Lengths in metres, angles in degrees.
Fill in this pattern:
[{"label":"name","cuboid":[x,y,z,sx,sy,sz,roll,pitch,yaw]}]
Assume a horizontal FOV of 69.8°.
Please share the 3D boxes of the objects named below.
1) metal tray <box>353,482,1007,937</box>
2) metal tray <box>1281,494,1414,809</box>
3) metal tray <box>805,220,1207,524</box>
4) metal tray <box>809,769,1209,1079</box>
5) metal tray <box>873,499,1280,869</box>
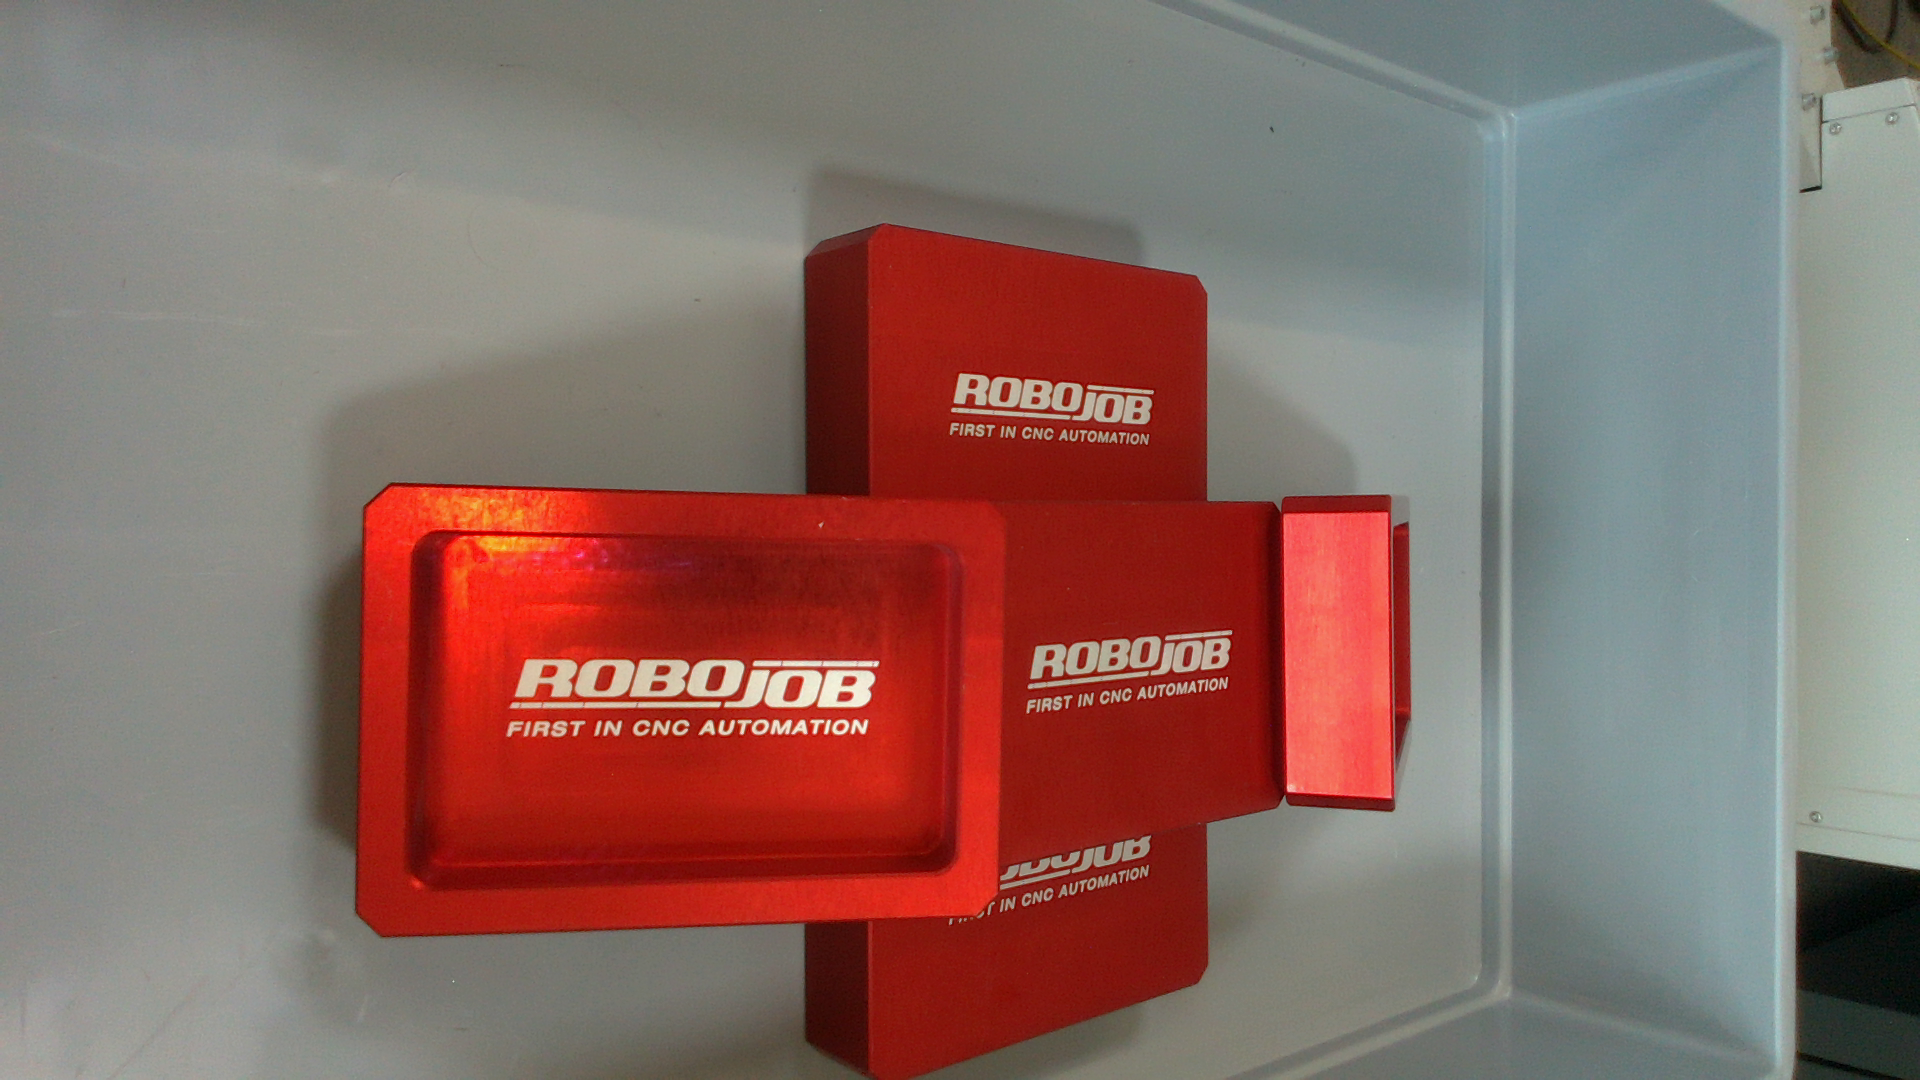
[{"label":"metal tray","cuboid":[-0.057,0.035,0.297,0.130,0.030,0.090,1,90,-11]},{"label":"metal tray","cuboid":[0.130,0.030,0.452,0.130,0.030,0.090,-5,95,-69]},{"label":"metal tray","cuboid":[0.018,-0.036,0.398,0.131,0.030,0.090,-1,90,-40]},{"label":"metal tray","cuboid":[0.019,0.093,0.398,0.131,0.030,0.090,-1,90,-40]},{"label":"metal tray","cuboid":[0.037,0.034,0.376,0.131,0.030,0.090,-2,91,-40]}]
